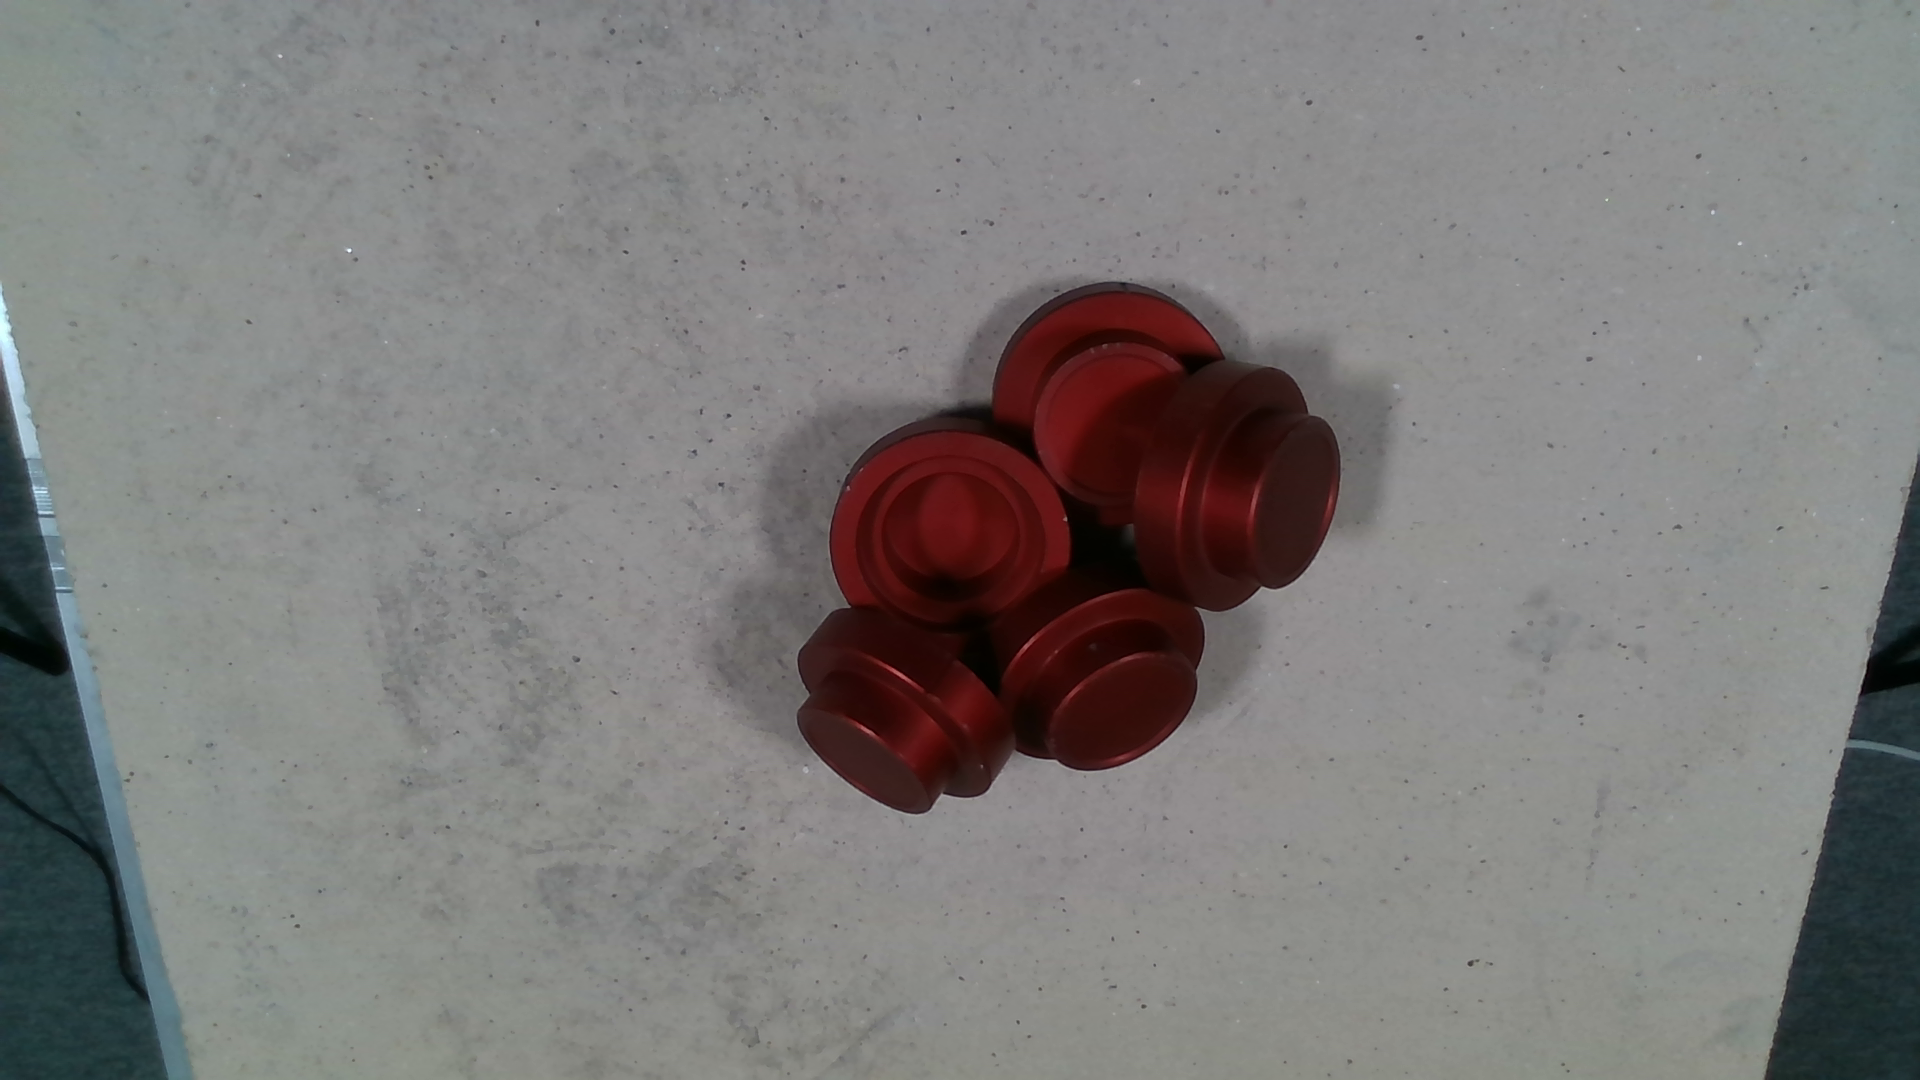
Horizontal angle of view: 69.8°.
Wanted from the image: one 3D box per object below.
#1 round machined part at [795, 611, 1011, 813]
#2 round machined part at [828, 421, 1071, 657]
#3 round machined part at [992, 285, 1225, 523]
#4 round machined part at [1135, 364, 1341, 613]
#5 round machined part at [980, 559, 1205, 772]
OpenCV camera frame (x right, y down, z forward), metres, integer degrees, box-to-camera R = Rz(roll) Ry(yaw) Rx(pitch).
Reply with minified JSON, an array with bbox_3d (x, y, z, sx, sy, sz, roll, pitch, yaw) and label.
[{"bbox_3d":[-0.030,0.078,0.575,0.098,0.098,0.042,45,63,-15],"label":"round machined part"},{"bbox_3d":[-0.004,-0.004,0.574,0.098,0.042,0.098,0,110,0],"label":"round machined part"},{"bbox_3d":[0.062,-0.053,0.557,0.098,0.042,0.098,0,110,0],"label":"round machined part"},{"bbox_3d":[0.114,-0.018,0.538,0.042,0.098,0.098,18,116,38],"label":"round machined part"},{"bbox_3d":[0.060,0.059,0.574,0.098,0.042,0.098,-15,135,-16],"label":"round machined part"}]
